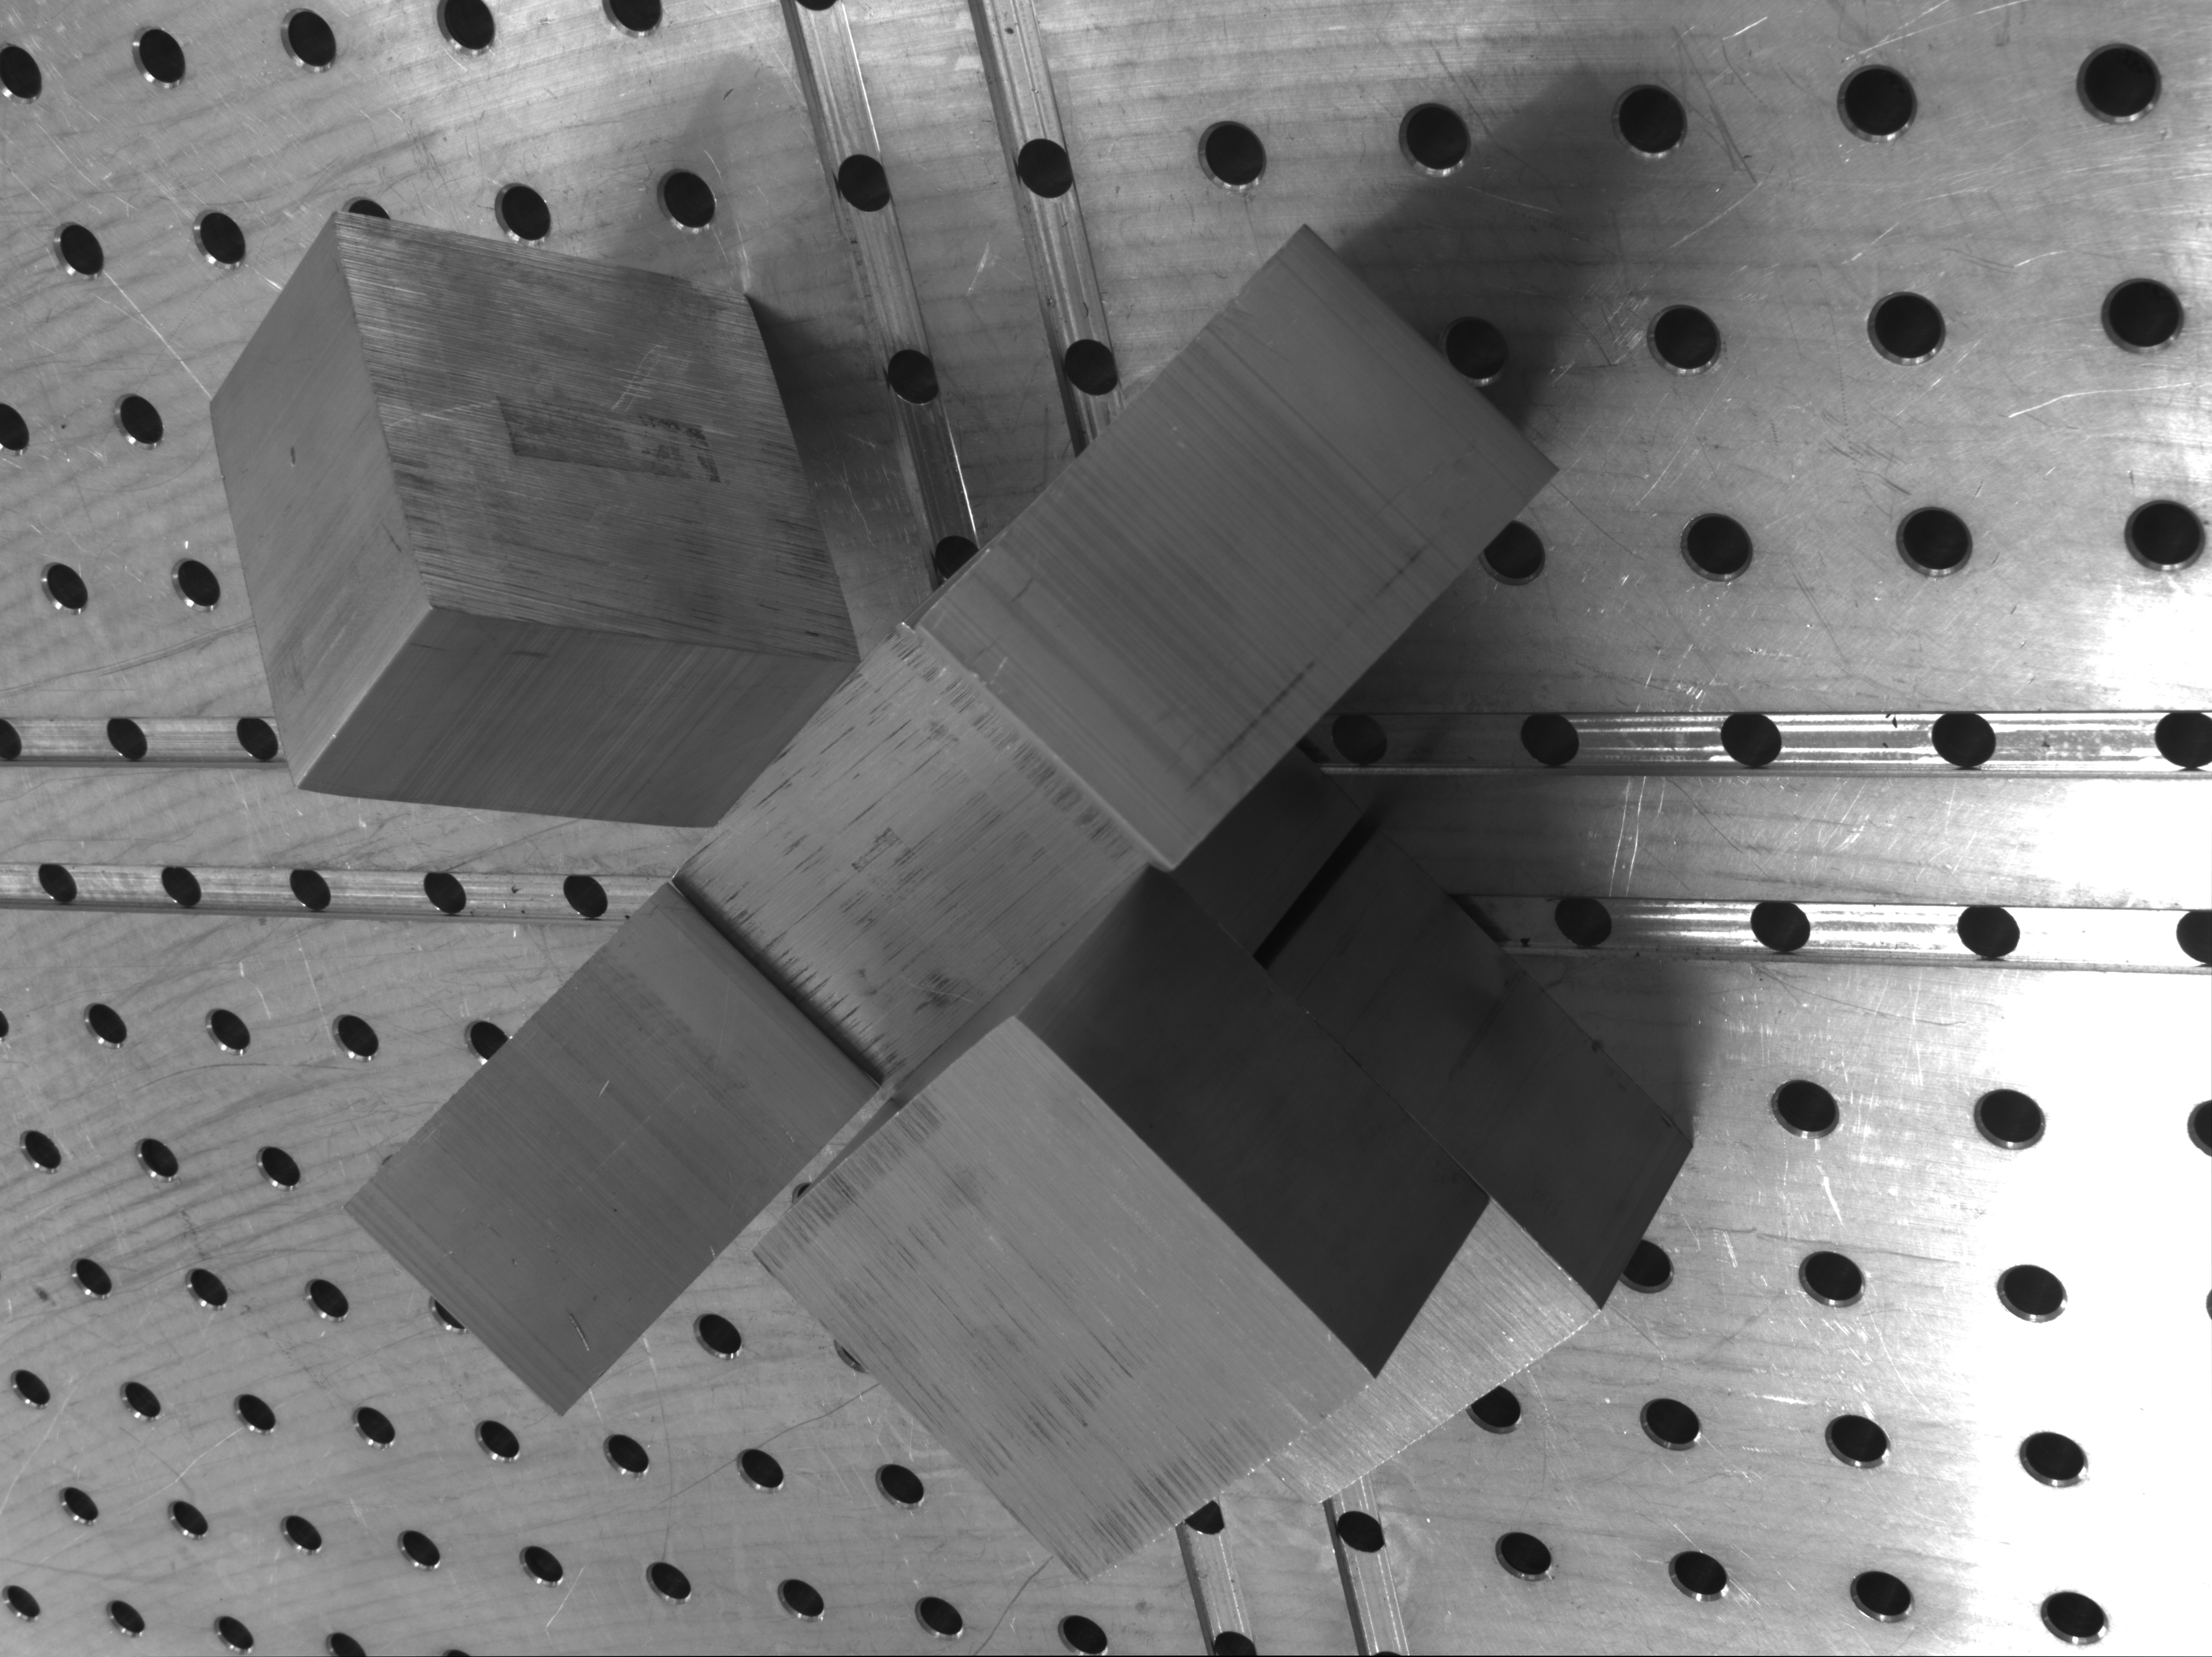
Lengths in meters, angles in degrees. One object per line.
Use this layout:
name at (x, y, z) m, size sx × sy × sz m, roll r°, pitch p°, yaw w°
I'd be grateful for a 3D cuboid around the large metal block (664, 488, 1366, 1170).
large metal block at (-0.016, 0.003, 0.641) m, size 0.080 × 0.050 × 0.080 m, roll 44°, pitch 129°, yaw -2°

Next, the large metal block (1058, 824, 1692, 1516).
large metal block at (0.041, 0.061, 0.644) m, size 0.080 × 0.050 × 0.080 m, roll 46°, pitch 128°, yaw -2°

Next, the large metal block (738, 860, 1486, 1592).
large metal block at (0.001, 0.066, 0.604) m, size 0.080 × 0.050 × 0.080 m, roll 44°, pitch 128°, yaw -3°

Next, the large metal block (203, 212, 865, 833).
large metal block at (-0.096, -0.049, 0.612) m, size 0.050 × 0.080 × 0.080 m, roll -44°, pitch 54°, yaw 39°

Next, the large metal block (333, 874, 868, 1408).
large metal block at (-0.092, 0.058, 0.676) m, size 0.050 × 0.080 × 0.080 m, roll 44°, pitch 171°, yaw -1°

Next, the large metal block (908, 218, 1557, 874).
large metal block at (0.017, -0.040, 0.557) m, size 0.050 × 0.080 × 0.080 m, roll 44°, pitch 89°, yaw -2°
